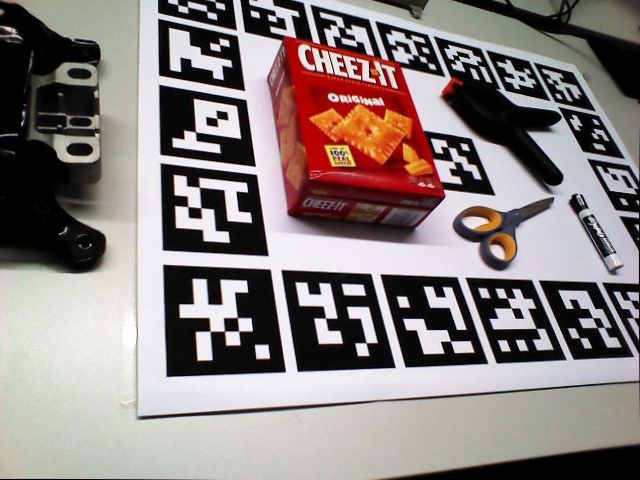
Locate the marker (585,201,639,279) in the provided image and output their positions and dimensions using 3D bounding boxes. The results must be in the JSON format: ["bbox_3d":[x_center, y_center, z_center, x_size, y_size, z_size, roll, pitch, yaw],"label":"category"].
[{"bbox_3d":[0.402,-0.003,0.716,0.019,0.020,0.120,1,58,-25],"label":"marker"}]

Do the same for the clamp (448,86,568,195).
[{"bbox_3d":[0.285,-0.170,0.781,0.203,0.037,0.164,30,49,-5],"label":"clamp"}]

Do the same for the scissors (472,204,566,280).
[{"bbox_3d":[0.270,-0.016,0.664,0.201,0.016,0.087,-25,70,-38],"label":"scissors"}]

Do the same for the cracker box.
[{"bbox_3d":[0.054,-0.115,0.595,0.164,0.072,0.212,5,57,-22],"label":"cracker box"}]
